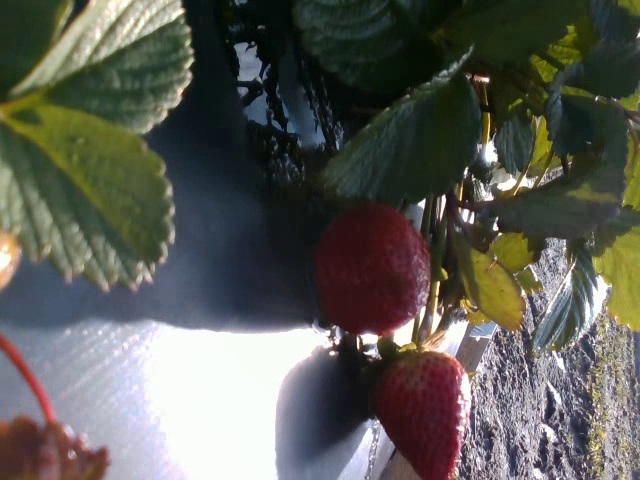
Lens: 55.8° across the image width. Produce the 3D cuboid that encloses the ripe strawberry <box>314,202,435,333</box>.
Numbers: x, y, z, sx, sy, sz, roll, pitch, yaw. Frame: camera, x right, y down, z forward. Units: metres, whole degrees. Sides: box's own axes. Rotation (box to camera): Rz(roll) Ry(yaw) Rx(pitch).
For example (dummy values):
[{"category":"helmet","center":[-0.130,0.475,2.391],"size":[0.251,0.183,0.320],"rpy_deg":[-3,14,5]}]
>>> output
[{"category":"ripe strawberry","center":[0.019,0.011,0.189],"size":[0.039,0.048,0.054],"rpy_deg":[24,7,-7]}]

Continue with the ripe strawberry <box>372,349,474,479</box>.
[{"category":"ripe strawberry","center":[0.043,0.067,0.225],"size":[0.039,0.053,0.043],"rpy_deg":[-10,-25,1]}]
